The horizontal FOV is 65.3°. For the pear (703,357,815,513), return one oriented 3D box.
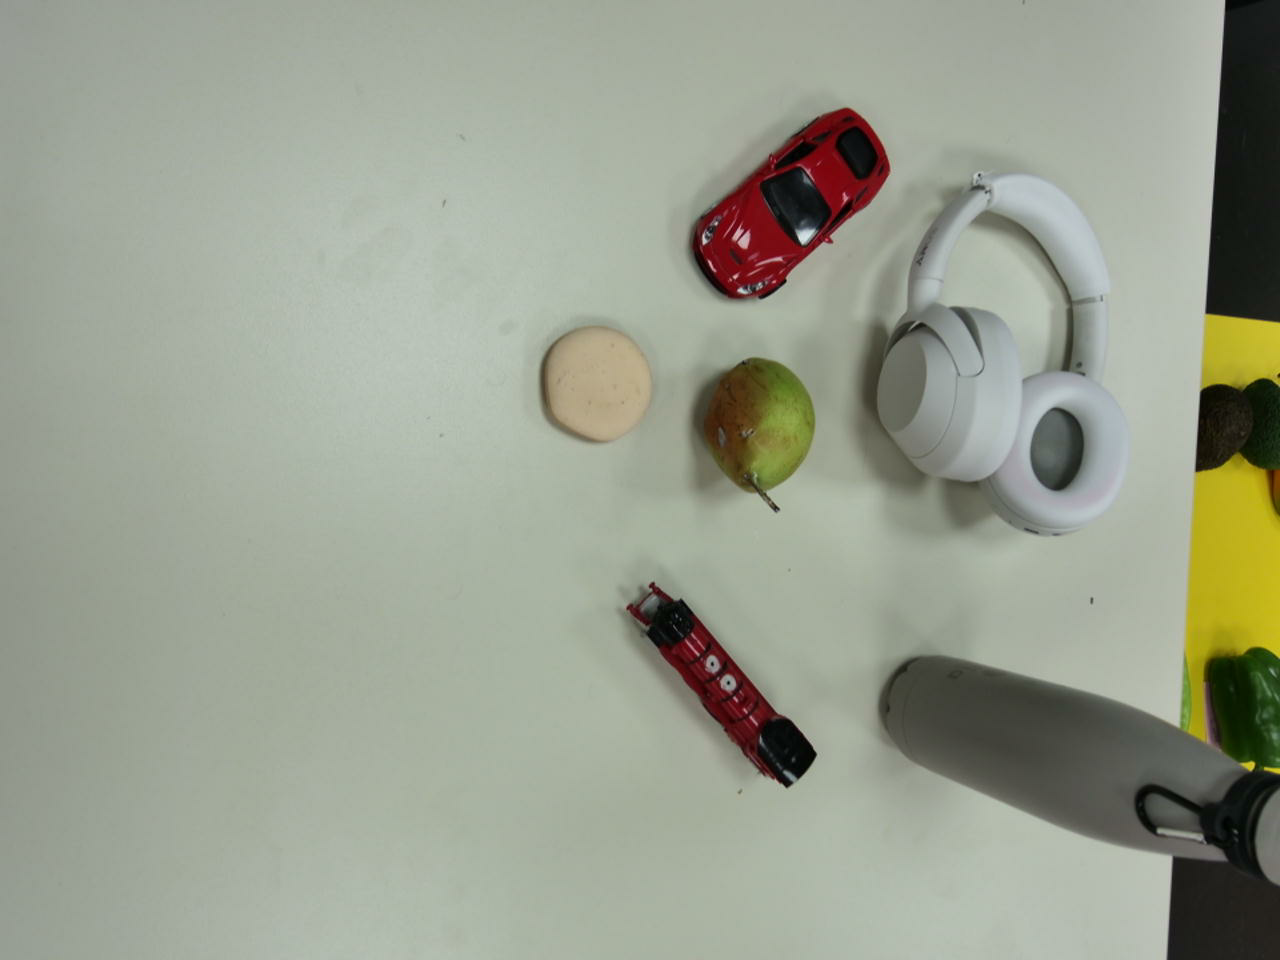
[{"bbox_3d":[0.066,-0.030,0.556,0.070,0.069,0.068,-36,103,-18],"label":"pear"}]
